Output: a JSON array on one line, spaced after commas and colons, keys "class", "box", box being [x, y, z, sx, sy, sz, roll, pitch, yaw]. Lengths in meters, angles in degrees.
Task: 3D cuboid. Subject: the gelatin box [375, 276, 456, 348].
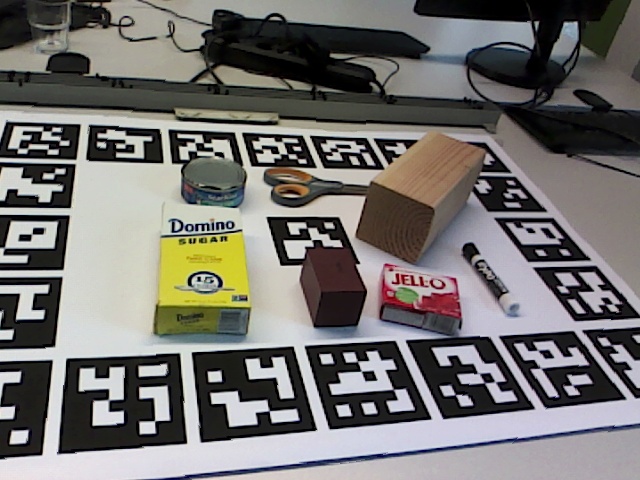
[{"class": "gelatin box", "box": [0.110, 0.082, 0.721, 0.089, 0.030, 0.073, 11, 38, -1]}]

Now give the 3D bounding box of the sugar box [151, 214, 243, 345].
[{"class": "sugar box", "box": [-0.137, 0.039, 0.697, 0.092, 0.045, 0.177, 3, 38, -13]}]

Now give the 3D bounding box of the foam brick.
[{"class": "foam brick", "box": [0.011, 0.065, 0.691, 0.052, 0.051, 0.078, 1, 40, -14]}]

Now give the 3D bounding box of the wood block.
[{"class": "wood block", "box": [0.145, -0.050, 0.855, 0.090, 0.091, 0.205, 27, 39, 19]}]

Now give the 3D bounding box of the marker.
[{"class": "marker", "box": [0.205, 0.059, 0.782, 0.019, 0.019, 0.121, 1, 41, -15]}]

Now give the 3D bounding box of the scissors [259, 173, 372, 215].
[{"class": "scissors", "box": [0.013, -0.063, 0.892, 0.202, 0.016, 0.088, 3, 38, -8]}]

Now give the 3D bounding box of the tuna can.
[{"class": "tuna can", "box": [-0.149, -0.067, 0.832, 0.085, 0.033, 0.086, 7, 38, -6]}]
